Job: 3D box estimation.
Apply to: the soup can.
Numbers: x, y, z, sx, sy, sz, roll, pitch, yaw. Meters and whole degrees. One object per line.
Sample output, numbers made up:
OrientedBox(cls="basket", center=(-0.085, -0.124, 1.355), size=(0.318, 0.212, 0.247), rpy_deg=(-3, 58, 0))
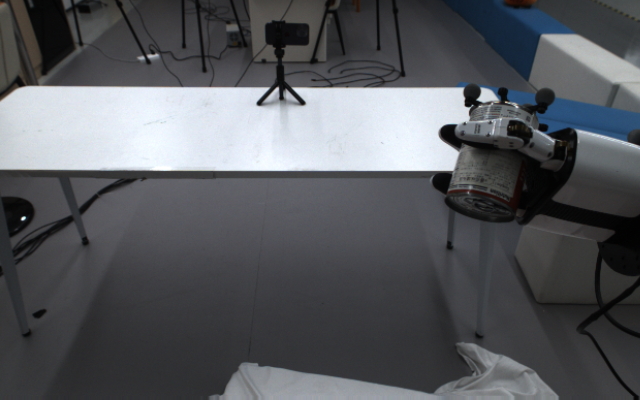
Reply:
OrientedBox(cls="soup can", center=(0.170, -0.040, 0.480), size=(0.067, 0.067, 0.101), rpy_deg=(16, 75, 19))
